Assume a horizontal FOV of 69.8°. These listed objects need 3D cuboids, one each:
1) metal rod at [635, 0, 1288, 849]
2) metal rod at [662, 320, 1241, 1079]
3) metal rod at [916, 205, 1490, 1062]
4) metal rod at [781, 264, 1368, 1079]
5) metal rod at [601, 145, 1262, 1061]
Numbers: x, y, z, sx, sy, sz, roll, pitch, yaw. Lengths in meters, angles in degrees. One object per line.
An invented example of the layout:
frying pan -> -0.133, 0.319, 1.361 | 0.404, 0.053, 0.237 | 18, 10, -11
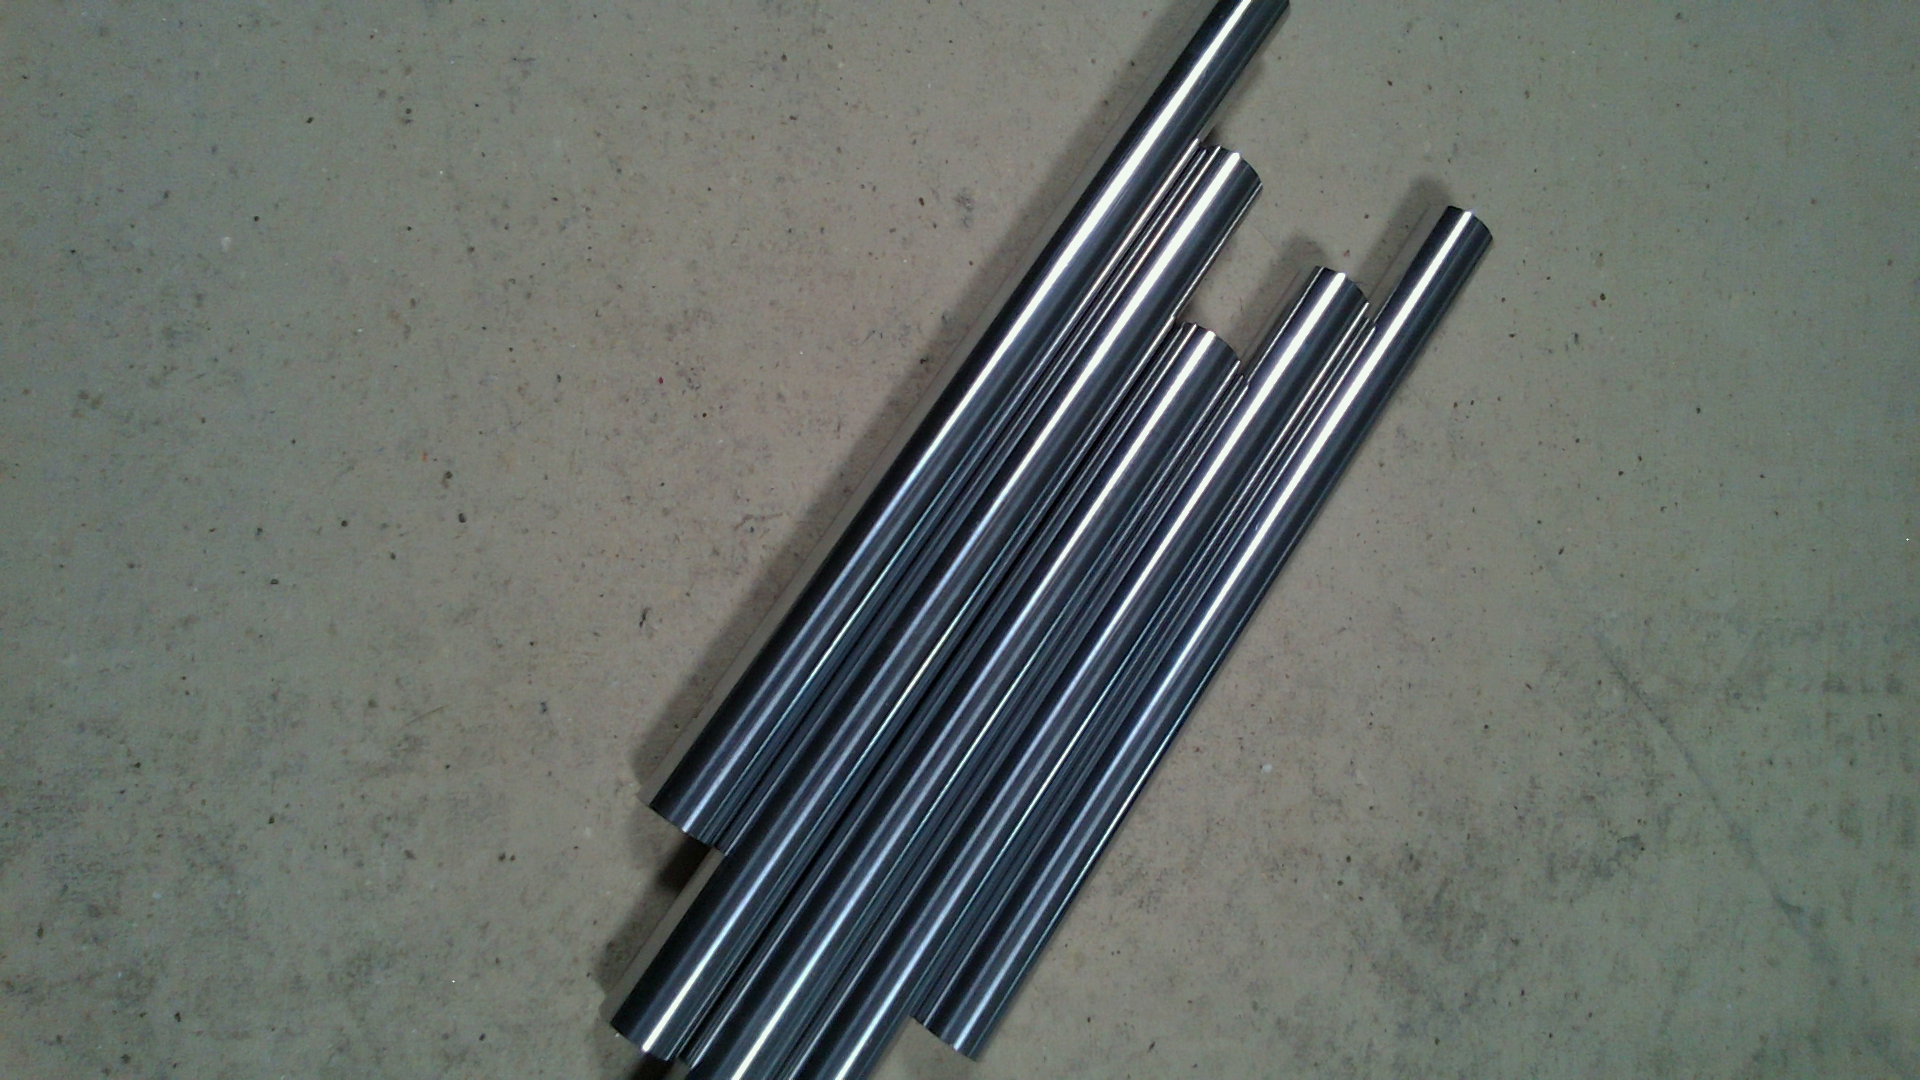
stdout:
metal rod -> 0.007, -0.046, 0.396 | 0.025, 0.025, 0.300 | 38, 78, -16
metal rod -> -0.008, 0.062, 0.391 | 0.025, 0.025, 0.300 | 38, 78, -16
metal rod -> 0.079, 0.020, 0.422 | 0.025, 0.025, 0.300 | 38, 78, -16
metal rod -> 0.035, 0.042, 0.406 | 0.025, 0.025, 0.300 | 38, 78, -16
metal rod -> -0.001, 0.009, 0.393 | 0.025, 0.025, 0.300 | 38, 78, -16
